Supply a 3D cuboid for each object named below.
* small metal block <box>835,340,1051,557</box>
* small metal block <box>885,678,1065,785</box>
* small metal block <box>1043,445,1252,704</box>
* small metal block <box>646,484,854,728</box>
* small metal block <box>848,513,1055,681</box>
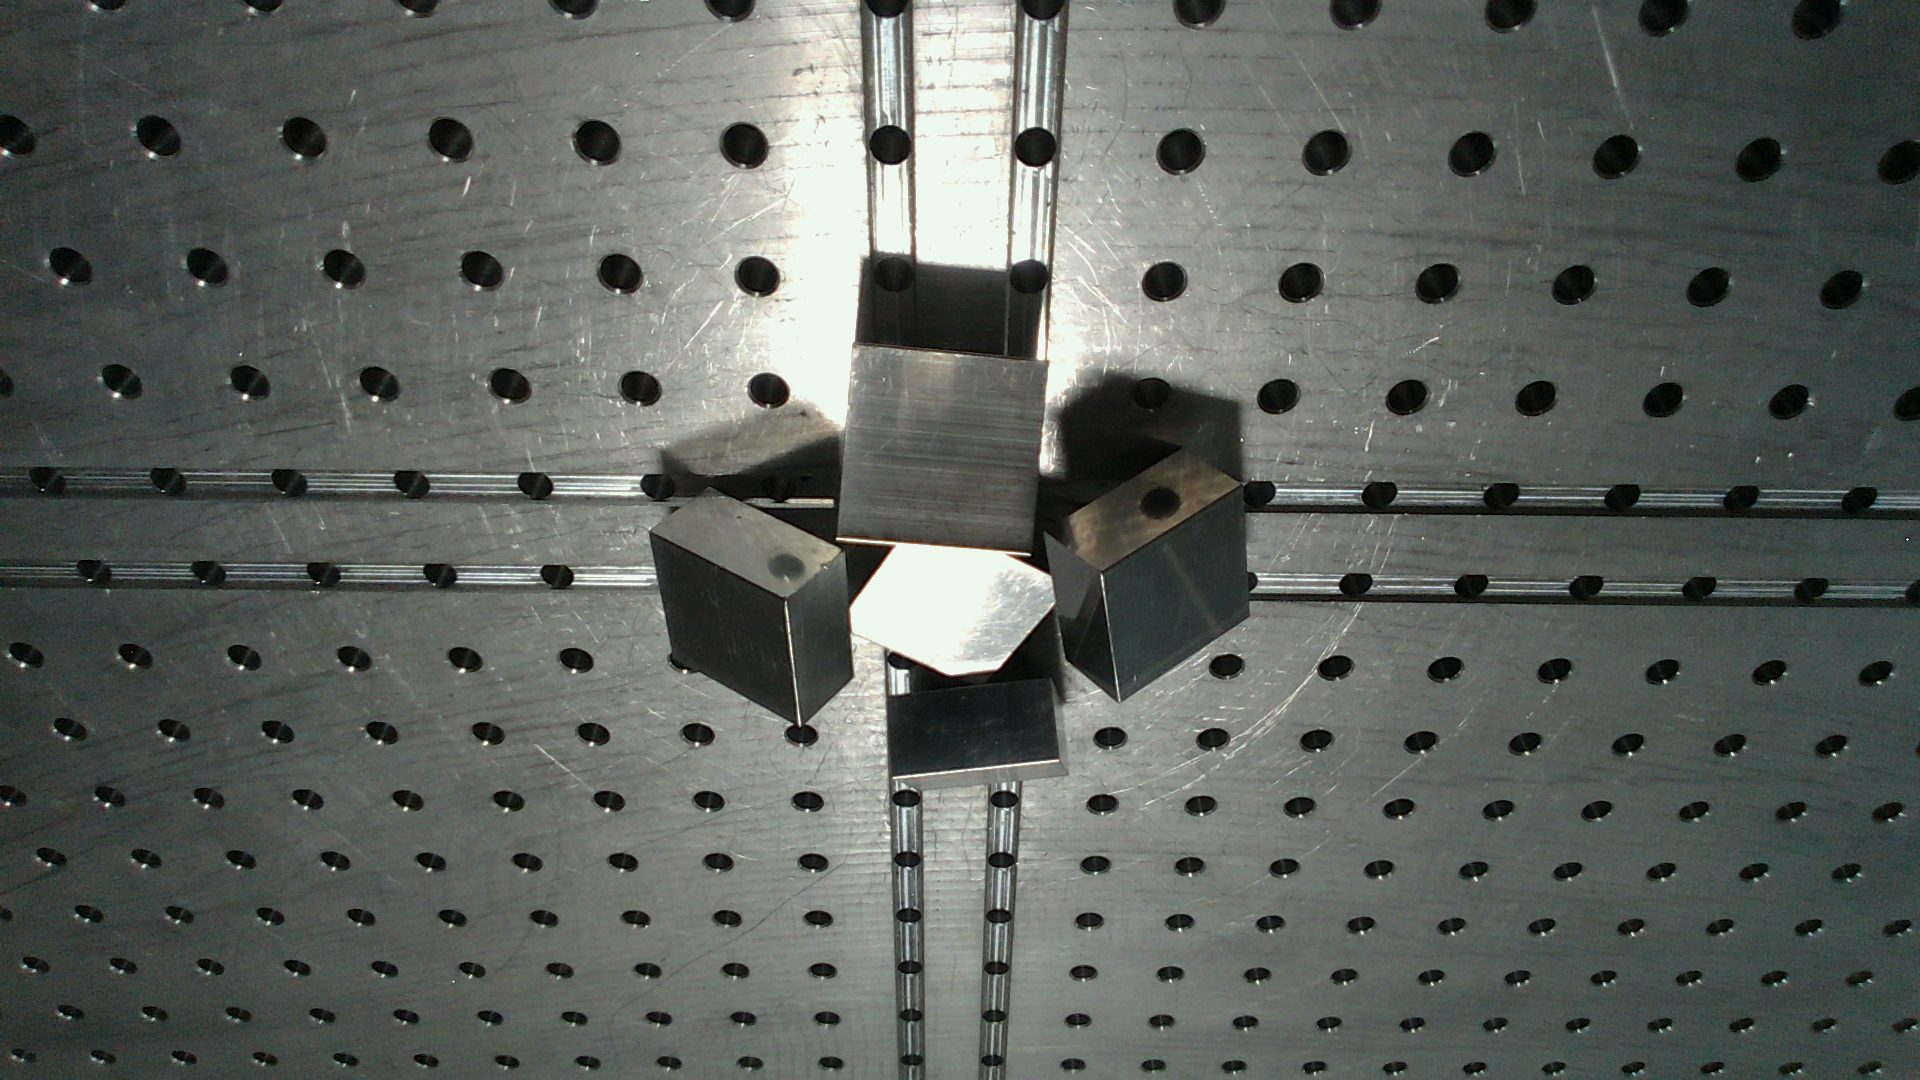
[{"bbox_3d":[-0.005,-0.024,0.357,0.050,0.025,0.050,5,94,-4],"label":"small metal block"},{"bbox_3d":[0.007,0.062,0.429,0.050,0.025,0.050,-7,165,6],"label":"small metal block"},{"bbox_3d":[0.054,0.010,0.386,0.050,0.025,0.050,-30,132,-21],"label":"small metal block"},{"bbox_3d":[-0.059,0.019,0.394,0.050,0.025,0.050,24,136,26],"label":"small metal block"},{"bbox_3d":[-0.002,0.011,0.402,0.050,0.025,0.050,25,126,-20],"label":"small metal block"}]
